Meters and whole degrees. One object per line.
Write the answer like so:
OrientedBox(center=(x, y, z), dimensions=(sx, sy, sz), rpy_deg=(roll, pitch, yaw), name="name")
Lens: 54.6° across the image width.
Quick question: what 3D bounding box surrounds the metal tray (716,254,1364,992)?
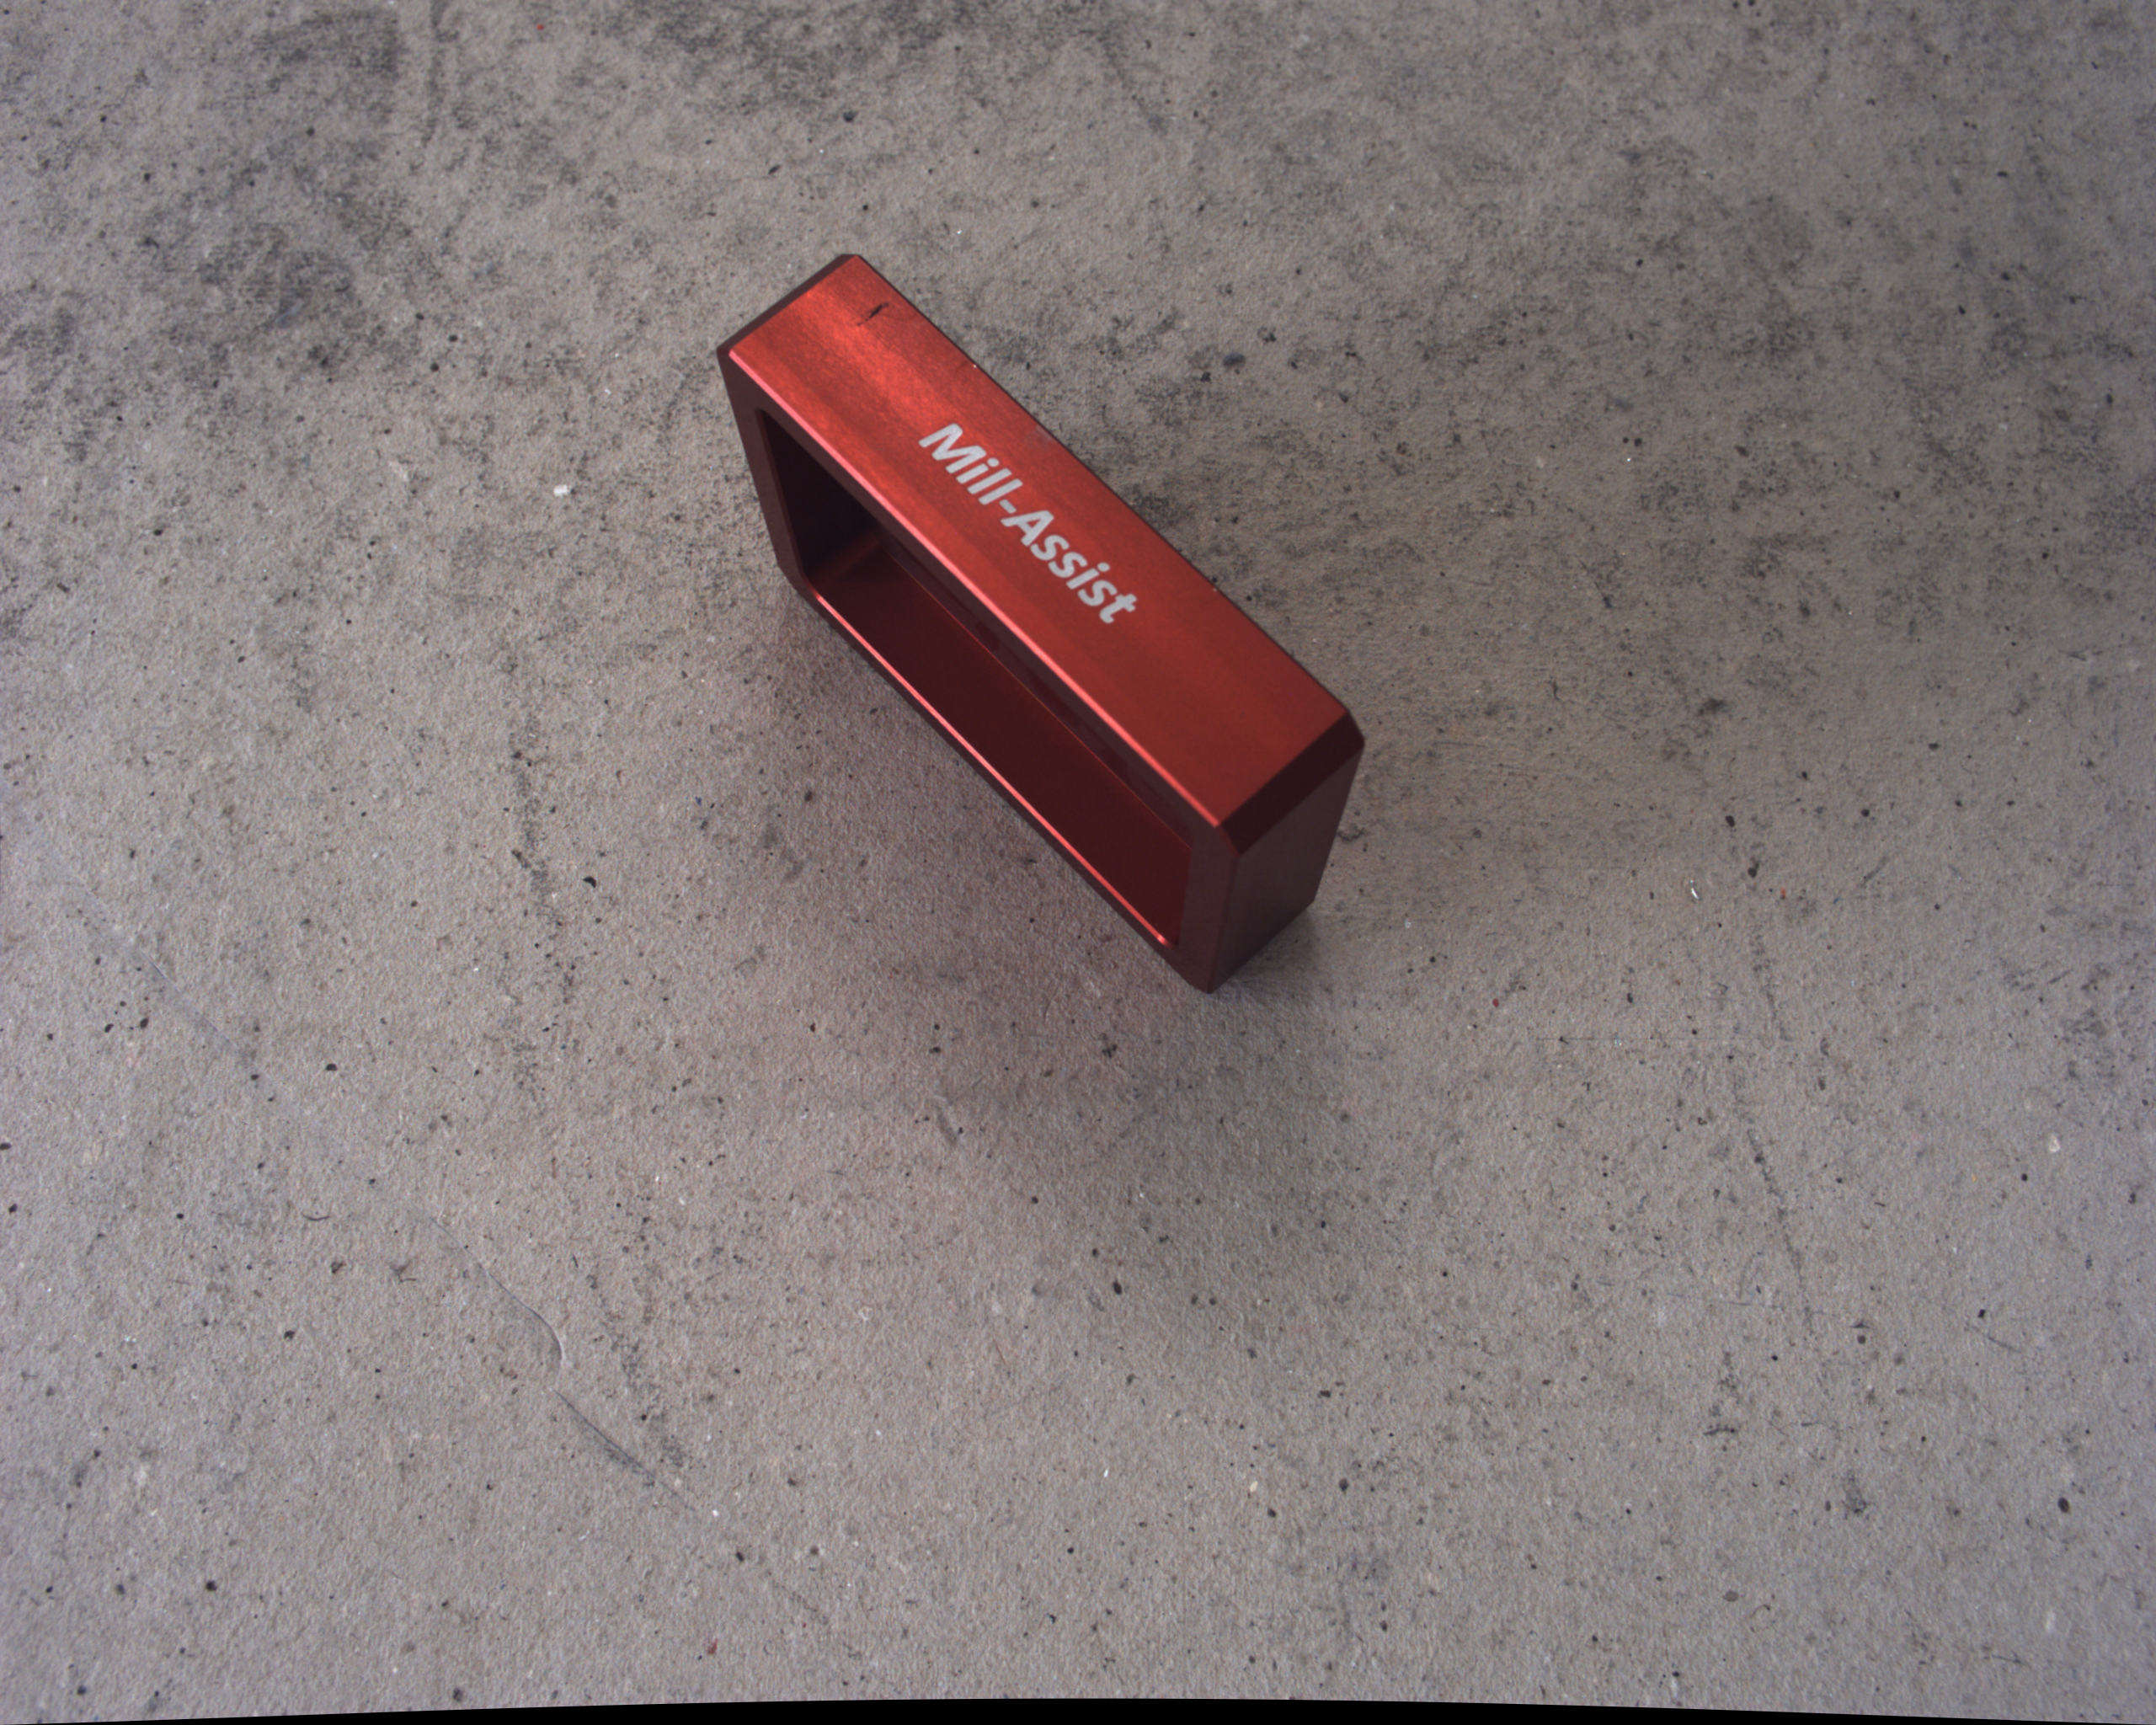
OrientedBox(center=(-0.008, -0.041, 0.390), dimensions=(0.030, 0.090, 0.130), rpy_deg=(-42, 76, -13), name="metal tray")
